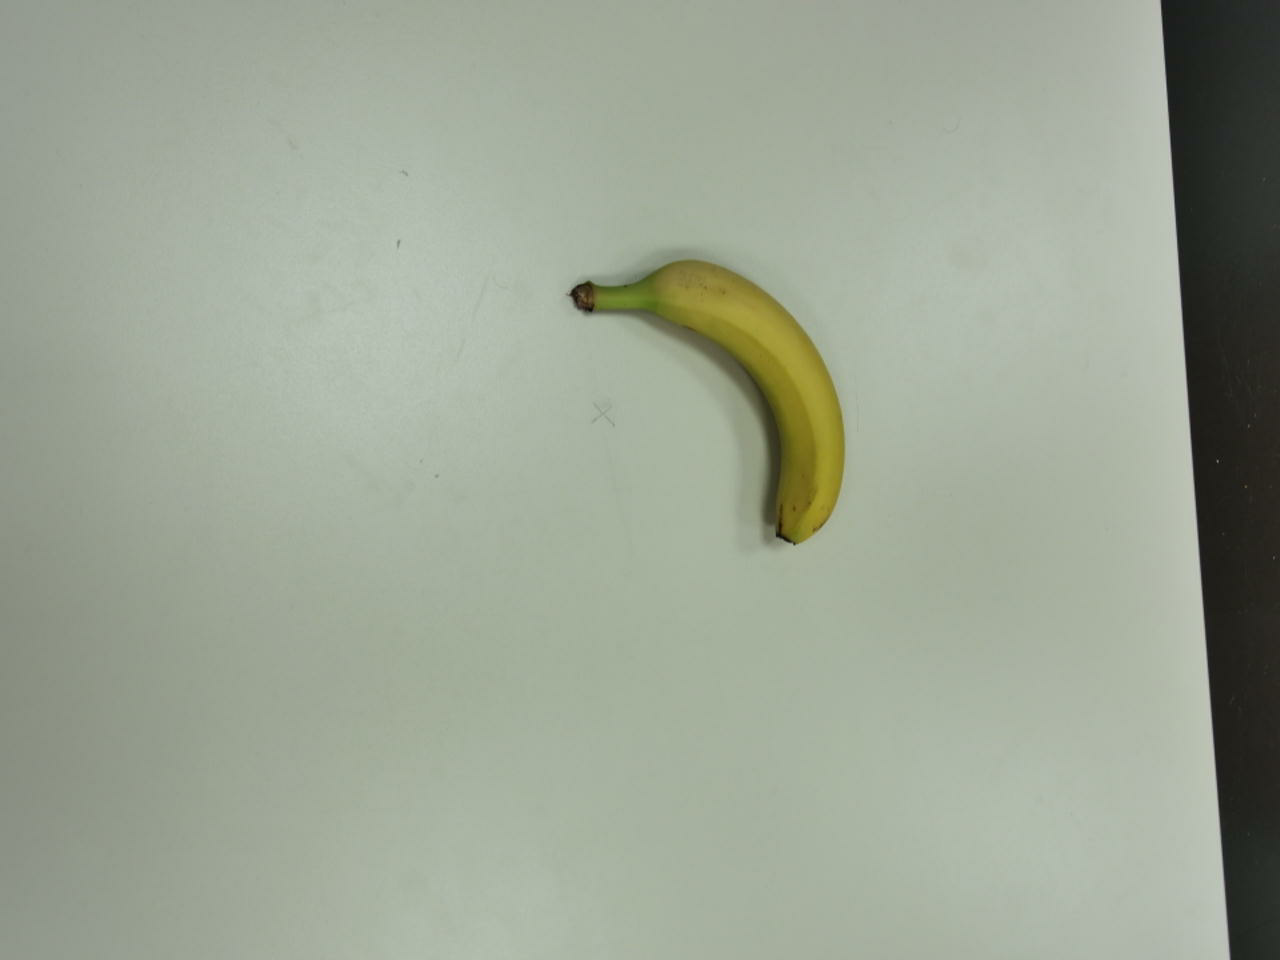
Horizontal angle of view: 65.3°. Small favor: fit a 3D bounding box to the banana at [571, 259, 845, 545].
[{"bbox_3d":[0.059,-0.061,0.575,0.094,0.041,0.196,-44,105,-16],"label":"banana"}]
